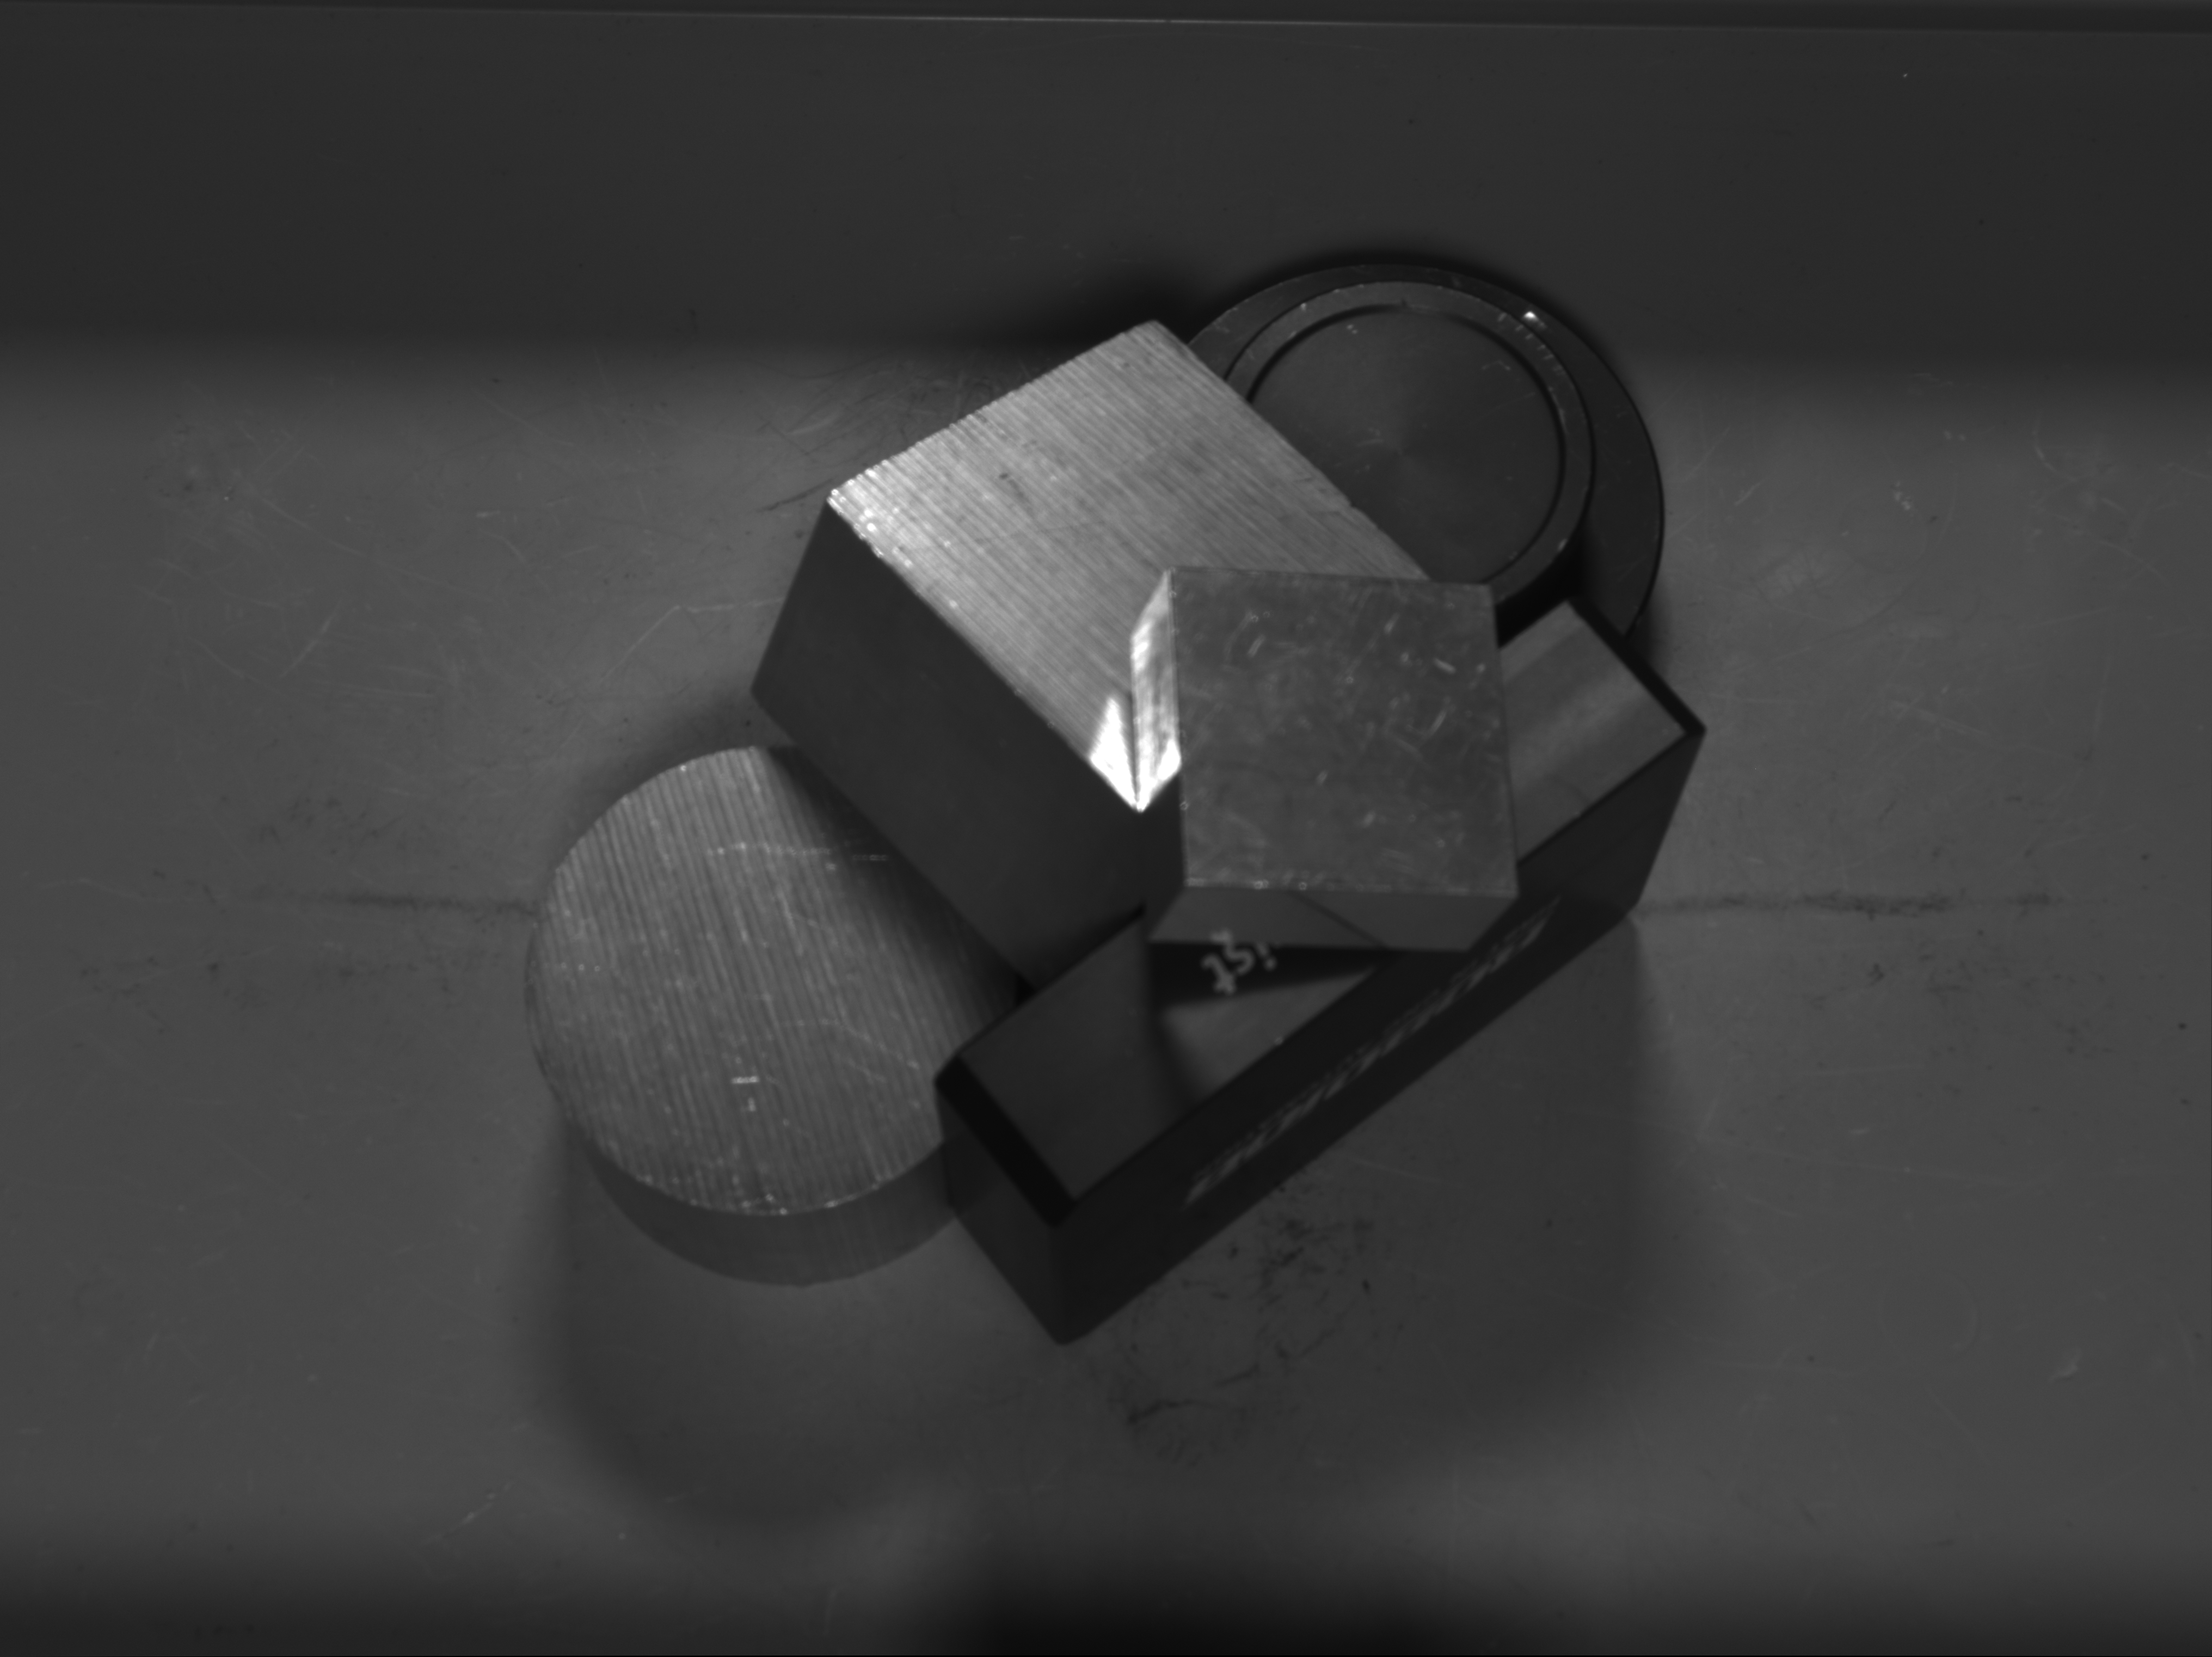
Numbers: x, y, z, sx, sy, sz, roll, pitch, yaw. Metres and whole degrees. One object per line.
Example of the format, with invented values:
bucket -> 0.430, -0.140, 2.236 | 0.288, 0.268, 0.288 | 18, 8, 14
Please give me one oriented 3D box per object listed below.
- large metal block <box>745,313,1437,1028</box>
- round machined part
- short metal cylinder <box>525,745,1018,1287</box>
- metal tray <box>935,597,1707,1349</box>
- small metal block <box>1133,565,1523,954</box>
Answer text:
large metal block -> 0.002, -0.028, 0.602 | 0.080, 0.050, 0.080 | 45, 51, 15
round machined part -> 0.051, -0.059, 0.656 | 0.098, 0.042, 0.098 | 0, 70, 0
short metal cylinder -> -0.054, 0.032, 0.618 | 0.080, 0.050, 0.080 | 0, 70, 0
metal tray -> 0.034, 0.026, 0.599 | 0.130, 0.090, 0.030 | -36, 73, -13
small metal block -> 0.032, -0.010, 0.546 | 0.050, 0.025, 0.050 | 2, 69, -13
